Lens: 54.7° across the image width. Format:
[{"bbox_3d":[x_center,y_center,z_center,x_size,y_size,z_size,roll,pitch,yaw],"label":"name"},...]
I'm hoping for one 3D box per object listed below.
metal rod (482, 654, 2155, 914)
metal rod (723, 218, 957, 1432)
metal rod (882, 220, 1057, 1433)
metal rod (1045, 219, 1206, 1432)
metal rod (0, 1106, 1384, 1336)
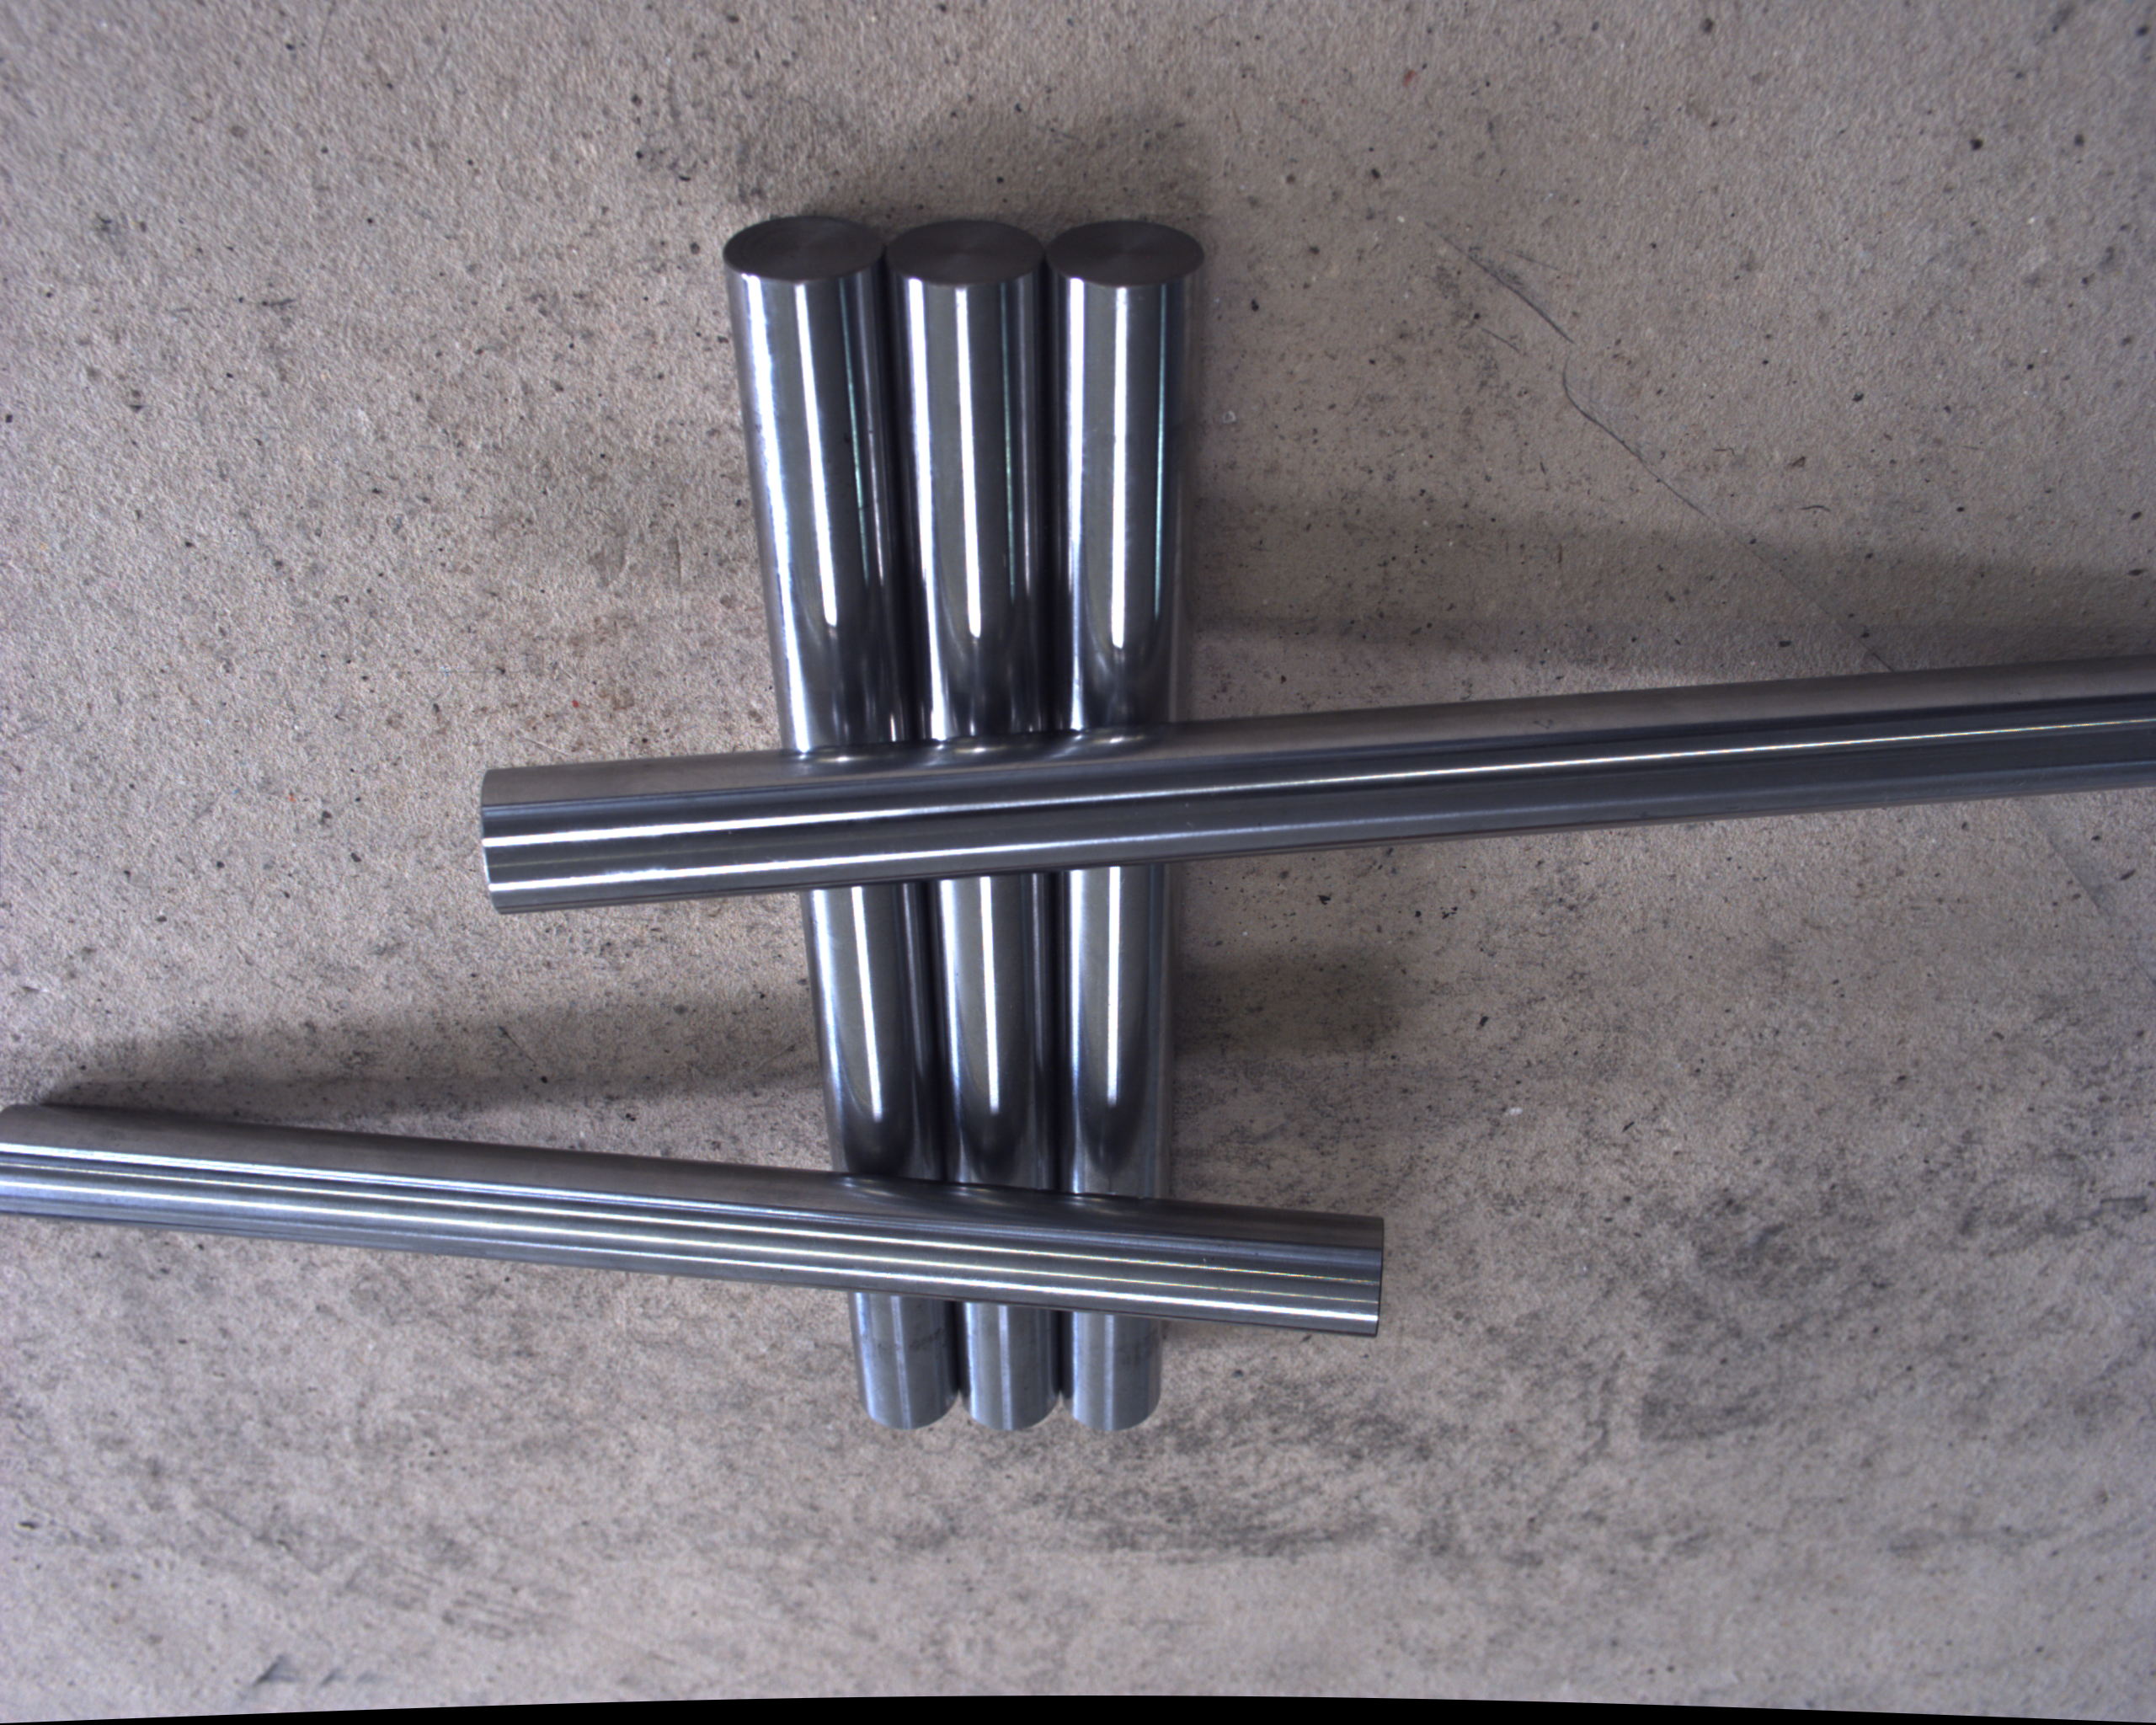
[{"bbox_3d":[0.051,-0.015,0.371,0.302,0.025,0.025,-4,131,-7],"label":"metal rod"},{"bbox_3d":[-0.042,0.018,0.423,0.025,0.025,0.298,0,130,0],"label":"metal rod"},{"bbox_3d":[-0.018,0.018,0.423,0.025,0.025,0.298,0,130,0],"label":"metal rod"},{"bbox_3d":[0.008,0.018,0.423,0.025,0.025,0.298,0,130,0],"label":"metal rod"},{"bbox_3d":[-0.087,0.076,0.447,0.302,0.025,0.025,4,131,6],"label":"metal rod"}]
